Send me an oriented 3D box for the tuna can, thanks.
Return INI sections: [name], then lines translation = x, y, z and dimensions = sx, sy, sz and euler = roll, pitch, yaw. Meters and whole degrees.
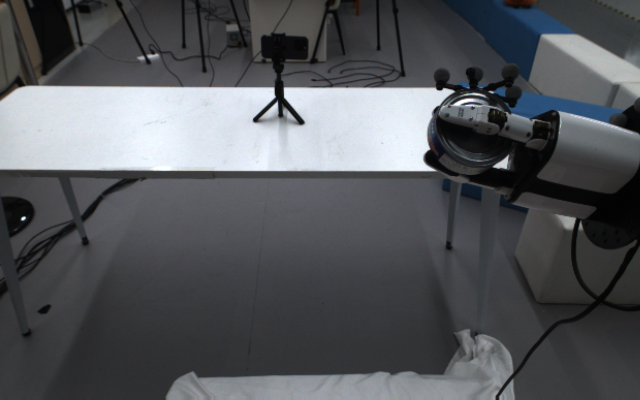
[tuna can]
translation = 0.160, -0.076, 0.510
dimensions = 0.085, 0.034, 0.085
euler = 1, 73, -4
